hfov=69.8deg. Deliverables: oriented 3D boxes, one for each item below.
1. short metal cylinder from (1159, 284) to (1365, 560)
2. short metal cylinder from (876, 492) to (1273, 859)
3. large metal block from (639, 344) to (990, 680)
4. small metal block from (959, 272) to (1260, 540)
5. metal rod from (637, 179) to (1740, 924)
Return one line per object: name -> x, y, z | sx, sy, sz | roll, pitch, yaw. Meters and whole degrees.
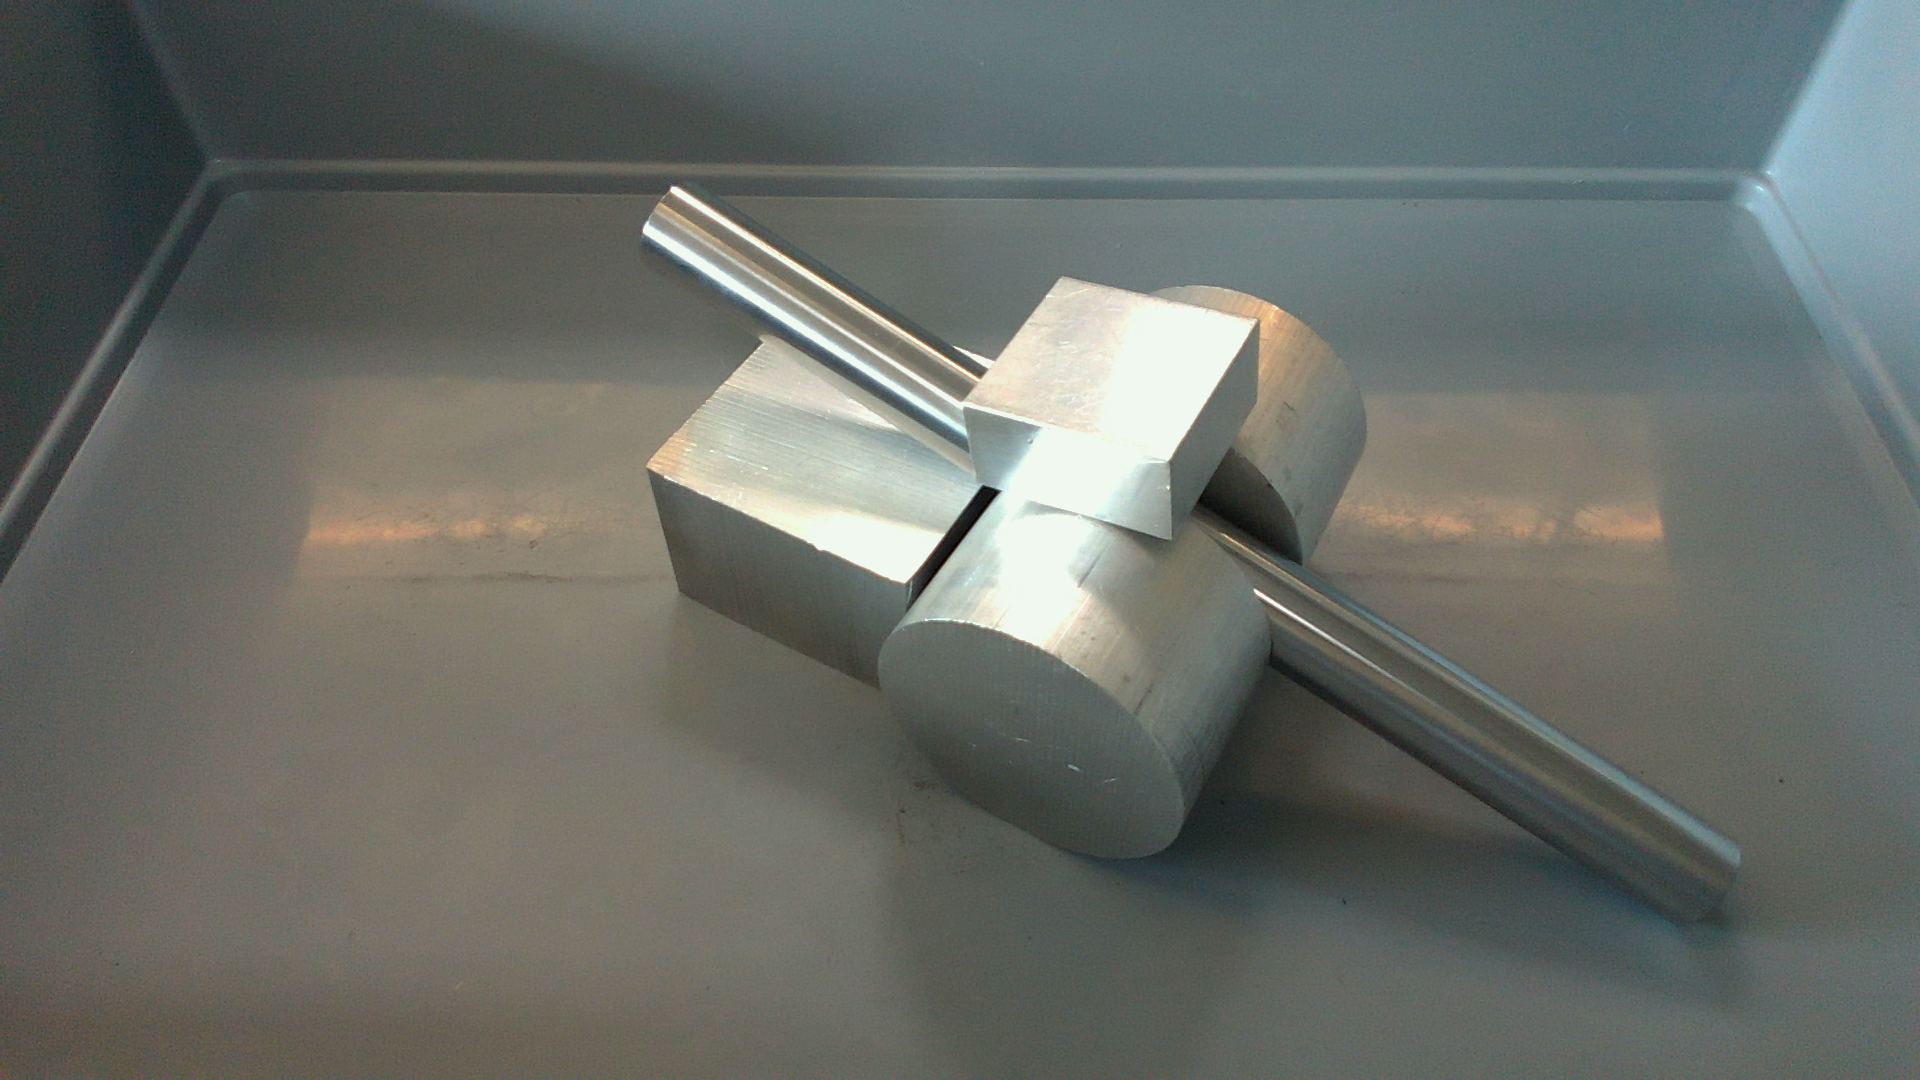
short metal cylinder -> 0.063, -0.022, 0.373 | 0.080, 0.080, 0.050 | 22, 53, 18
short metal cylinder -> 0.027, 0.030, 0.328 | 0.080, 0.080, 0.050 | 24, 54, 19
large metal block -> -0.028, -0.015, 0.384 | 0.080, 0.050, 0.080 | 23, 54, 19
small metal block -> 0.035, -0.032, 0.314 | 0.050, 0.025, 0.050 | 18, 52, 25
metal rod -> 0.049, -0.001, 0.340 | 0.300, 0.025, 0.025 | 33, 56, 6
